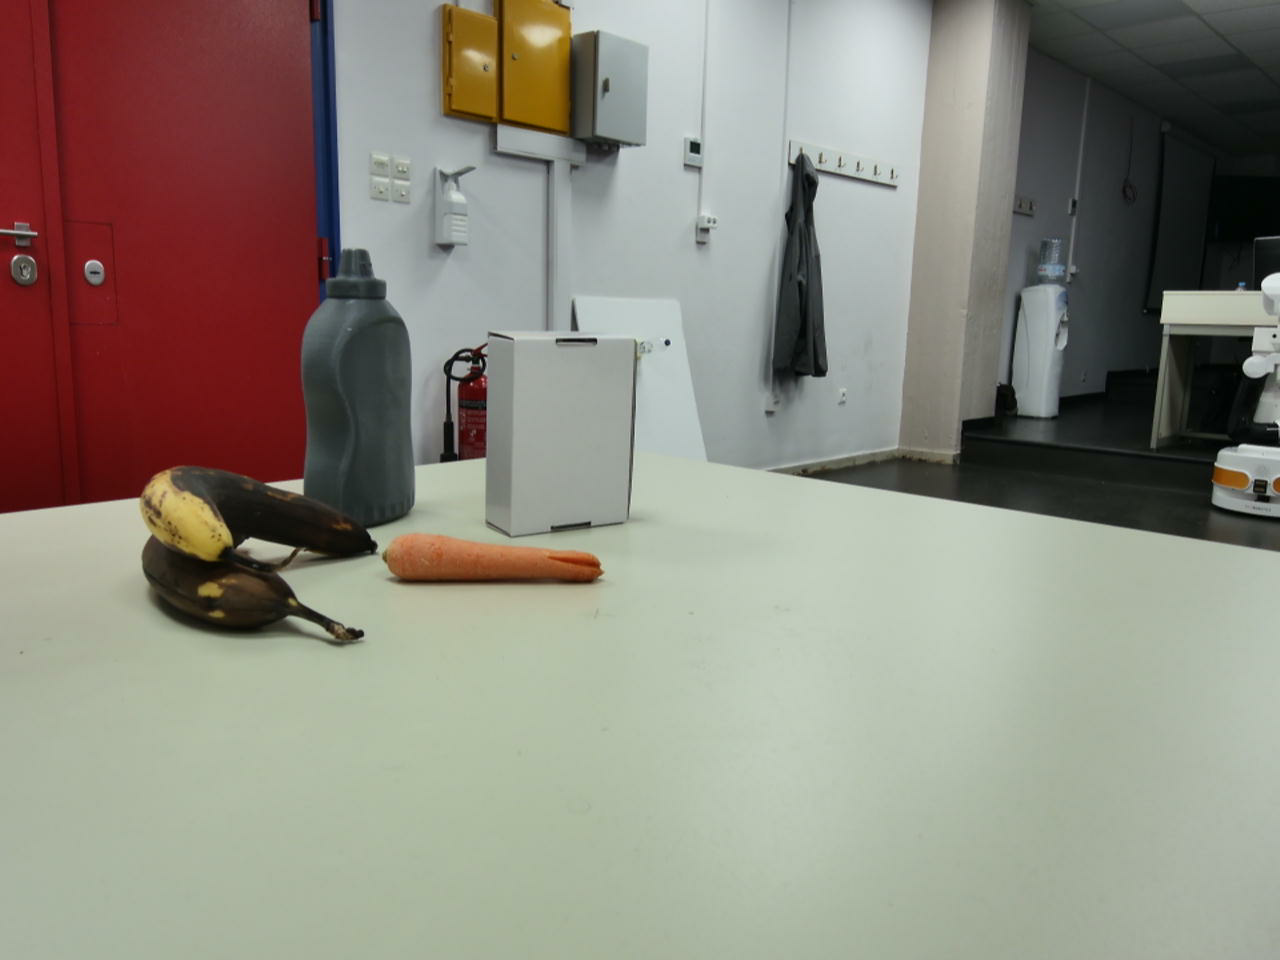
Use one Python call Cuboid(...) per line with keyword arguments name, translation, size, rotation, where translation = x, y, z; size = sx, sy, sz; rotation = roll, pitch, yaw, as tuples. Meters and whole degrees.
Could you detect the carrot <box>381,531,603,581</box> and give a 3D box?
Cuboid(name="carrot", translation=(-0.091, 0.048, 0.623), size=(0.136, 0.032, 0.030), rotation=(0, 8, -2))
